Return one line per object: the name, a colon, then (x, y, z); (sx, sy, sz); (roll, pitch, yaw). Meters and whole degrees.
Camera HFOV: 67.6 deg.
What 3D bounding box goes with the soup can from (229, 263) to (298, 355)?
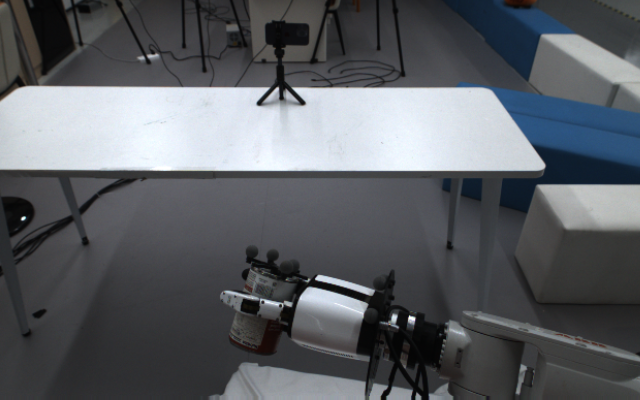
soup can: (-0.072, 0.144, 0.639); (0.067, 0.101, 0.067); (17, -1, 0)
